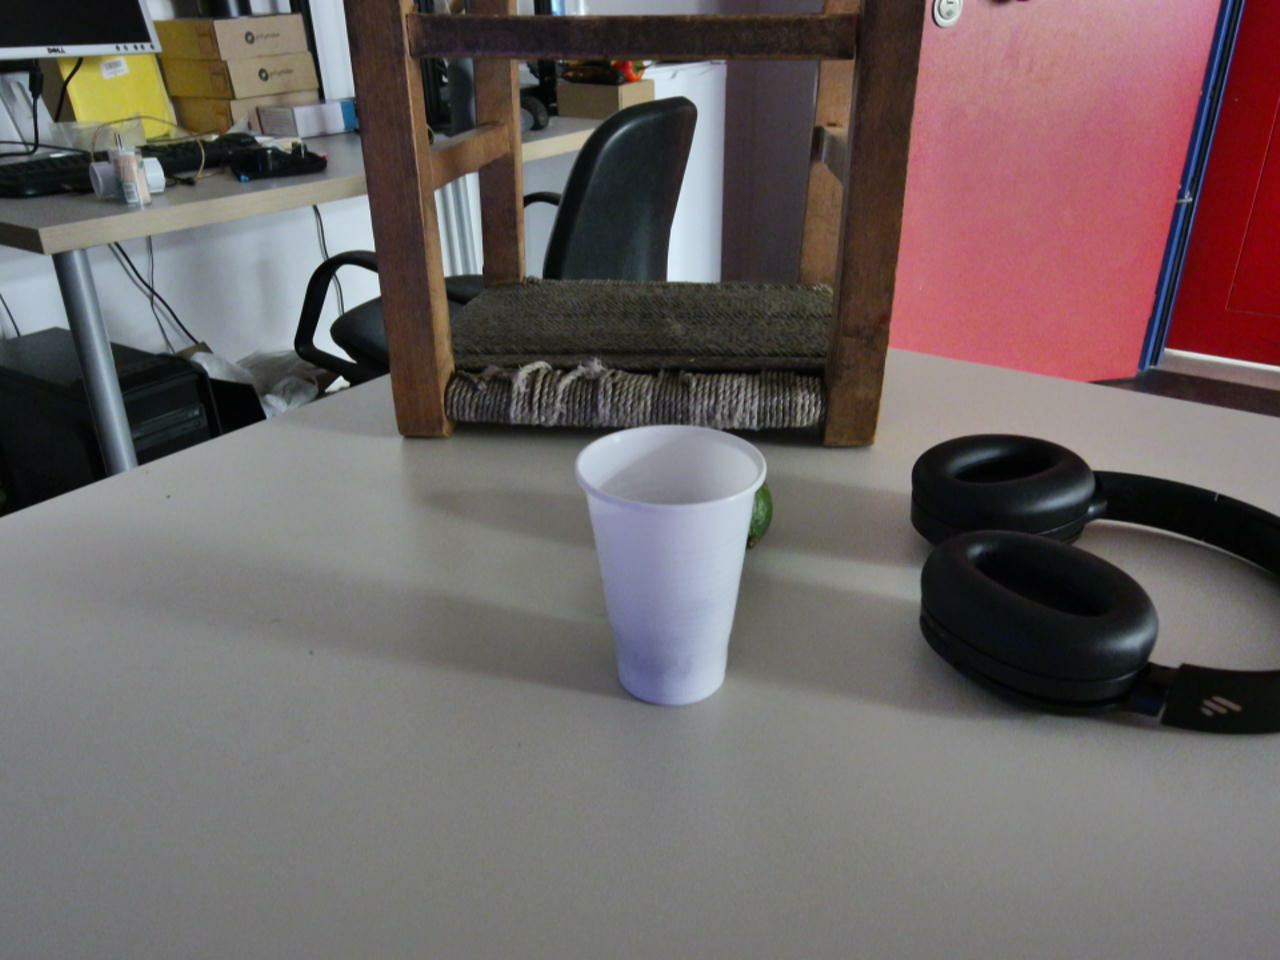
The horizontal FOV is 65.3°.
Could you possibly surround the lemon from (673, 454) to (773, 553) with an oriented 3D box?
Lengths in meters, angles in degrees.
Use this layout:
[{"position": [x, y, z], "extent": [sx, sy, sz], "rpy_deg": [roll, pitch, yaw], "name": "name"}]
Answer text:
[{"position": [0.046, 0.012, 0.543], "extent": [0.057, 0.051, 0.054], "rpy_deg": [14, 29, 30], "name": "lemon"}]
